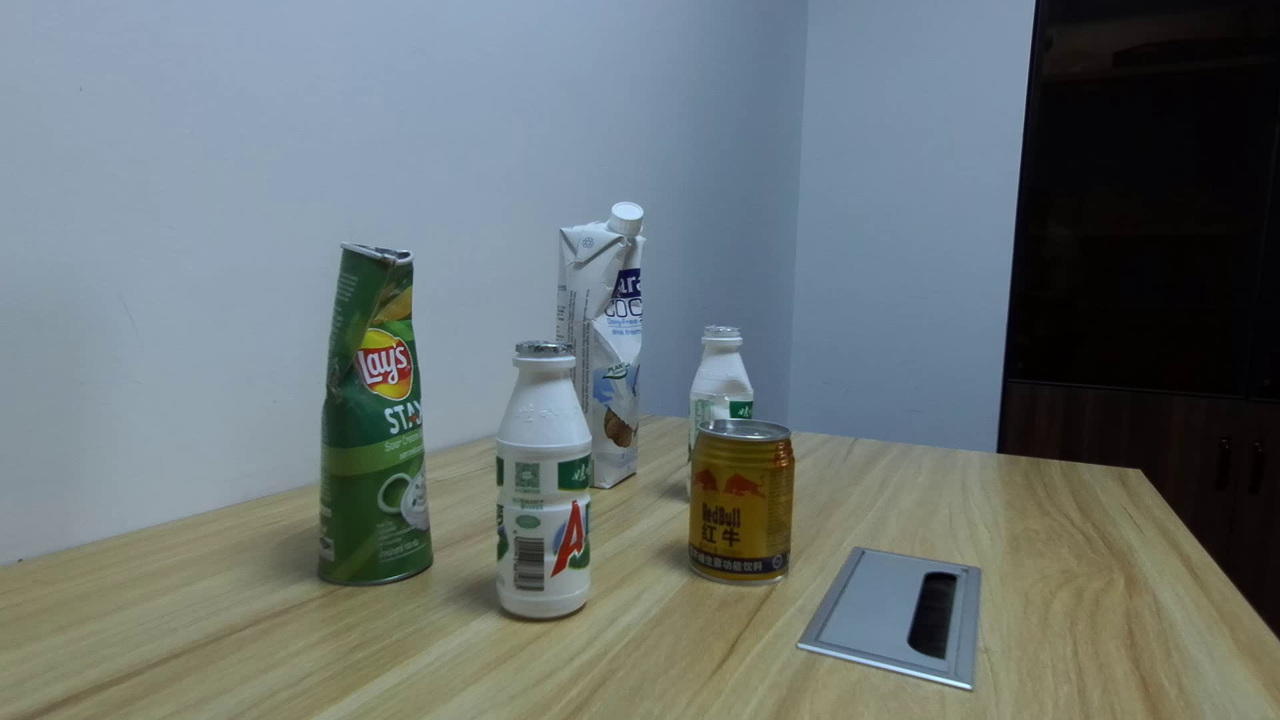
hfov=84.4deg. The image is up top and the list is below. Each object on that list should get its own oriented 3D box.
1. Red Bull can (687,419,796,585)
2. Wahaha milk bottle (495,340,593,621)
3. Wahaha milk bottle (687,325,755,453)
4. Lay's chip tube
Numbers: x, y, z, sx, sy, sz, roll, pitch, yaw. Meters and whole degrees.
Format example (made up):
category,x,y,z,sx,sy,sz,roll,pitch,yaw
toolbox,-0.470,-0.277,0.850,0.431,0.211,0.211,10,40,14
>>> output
category,x,y,z,sx,sy,sz,roll,pitch,yaw
Red Bull can,0.065,0.089,0.456,0.067,0.093,0.067,3,5,0
Wahaha milk bottle,-0.053,0.065,0.392,0.053,0.147,0.053,1,6,0
Wahaha milk bottle,0.069,0.047,0.591,0.055,0.149,0.055,1,8,0
Lay's chip tube,-0.164,0.031,0.435,0.069,0.201,0.077,-2,9,-37
